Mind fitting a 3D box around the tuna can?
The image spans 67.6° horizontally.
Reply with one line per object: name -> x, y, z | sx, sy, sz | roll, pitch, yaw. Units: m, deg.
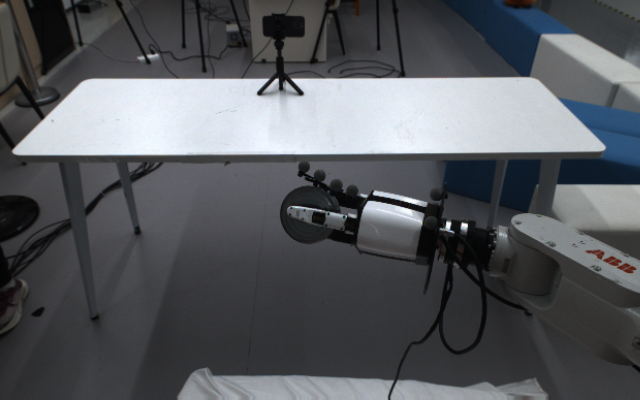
tuna can -> -0.012, 0.021, 0.715 | 0.085, 0.085, 0.034 | 10, 4, 11
